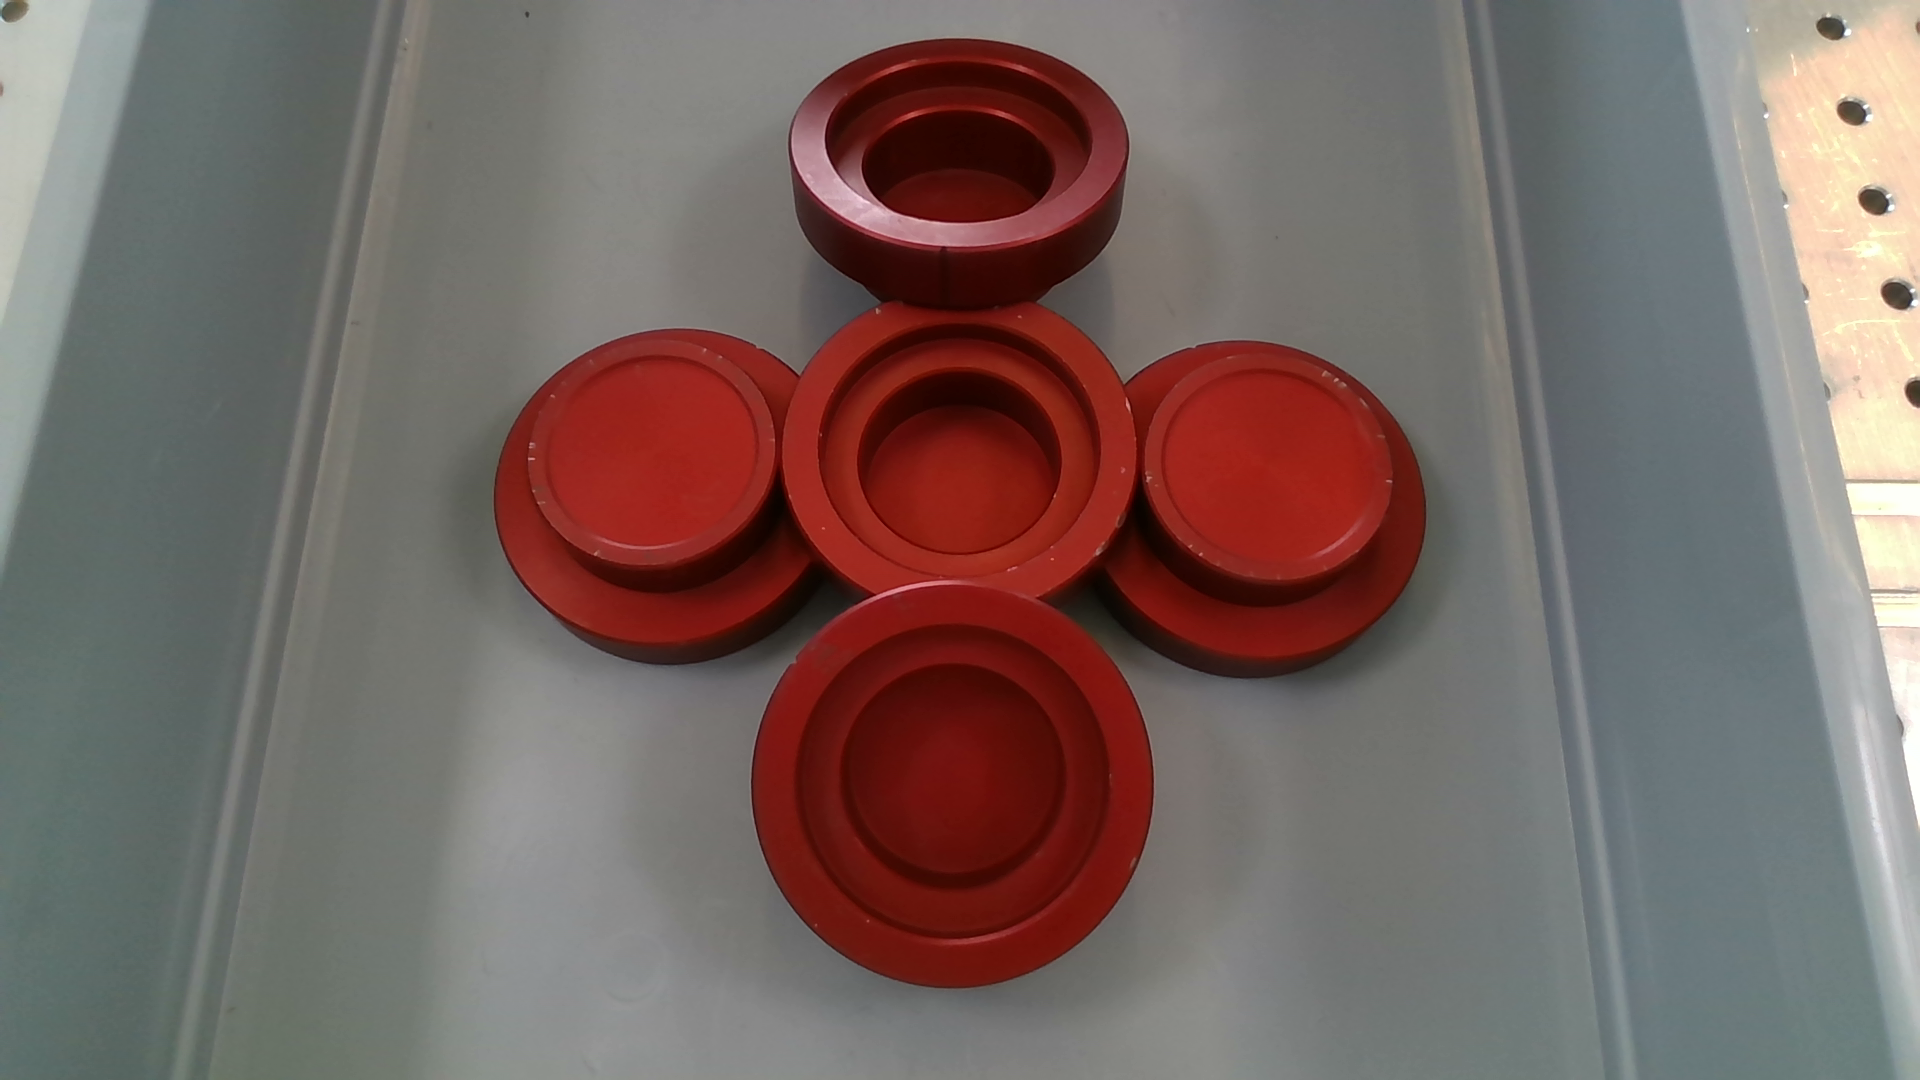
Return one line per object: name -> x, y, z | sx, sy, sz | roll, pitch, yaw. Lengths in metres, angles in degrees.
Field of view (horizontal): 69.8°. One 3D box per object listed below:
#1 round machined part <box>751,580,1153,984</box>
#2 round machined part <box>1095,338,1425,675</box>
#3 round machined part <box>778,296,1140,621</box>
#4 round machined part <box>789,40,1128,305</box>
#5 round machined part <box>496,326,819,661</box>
round machined part -> -0.002, 0.060, 0.355 | 0.098, 0.042, 0.098 | 0, 87, 0
round machined part -> 0.083, -0.014, 0.390 | 0.098, 0.042, 0.098 | 0, 70, 0
round machined part -> 0.000, -0.019, 0.392 | 0.098, 0.042, 0.098 | 0, 70, 0
round machined part -> 0.000, -0.104, 0.414 | 0.098, 0.042, 0.098 | 0, 53, 0
round machined part -> -0.083, -0.018, 0.392 | 0.098, 0.042, 0.098 | 0, 70, 0
